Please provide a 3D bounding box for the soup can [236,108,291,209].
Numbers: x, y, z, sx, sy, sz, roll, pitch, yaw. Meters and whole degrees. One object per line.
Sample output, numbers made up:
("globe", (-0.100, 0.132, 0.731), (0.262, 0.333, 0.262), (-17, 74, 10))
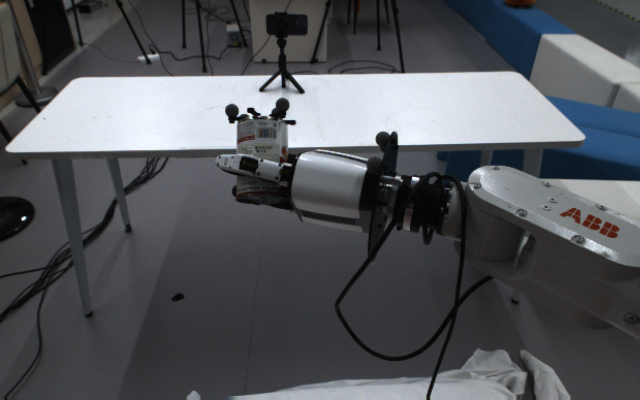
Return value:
("soup can", (-0.073, -0.049, 0.620), (0.067, 0.101, 0.067), (-1, -9, 0))
